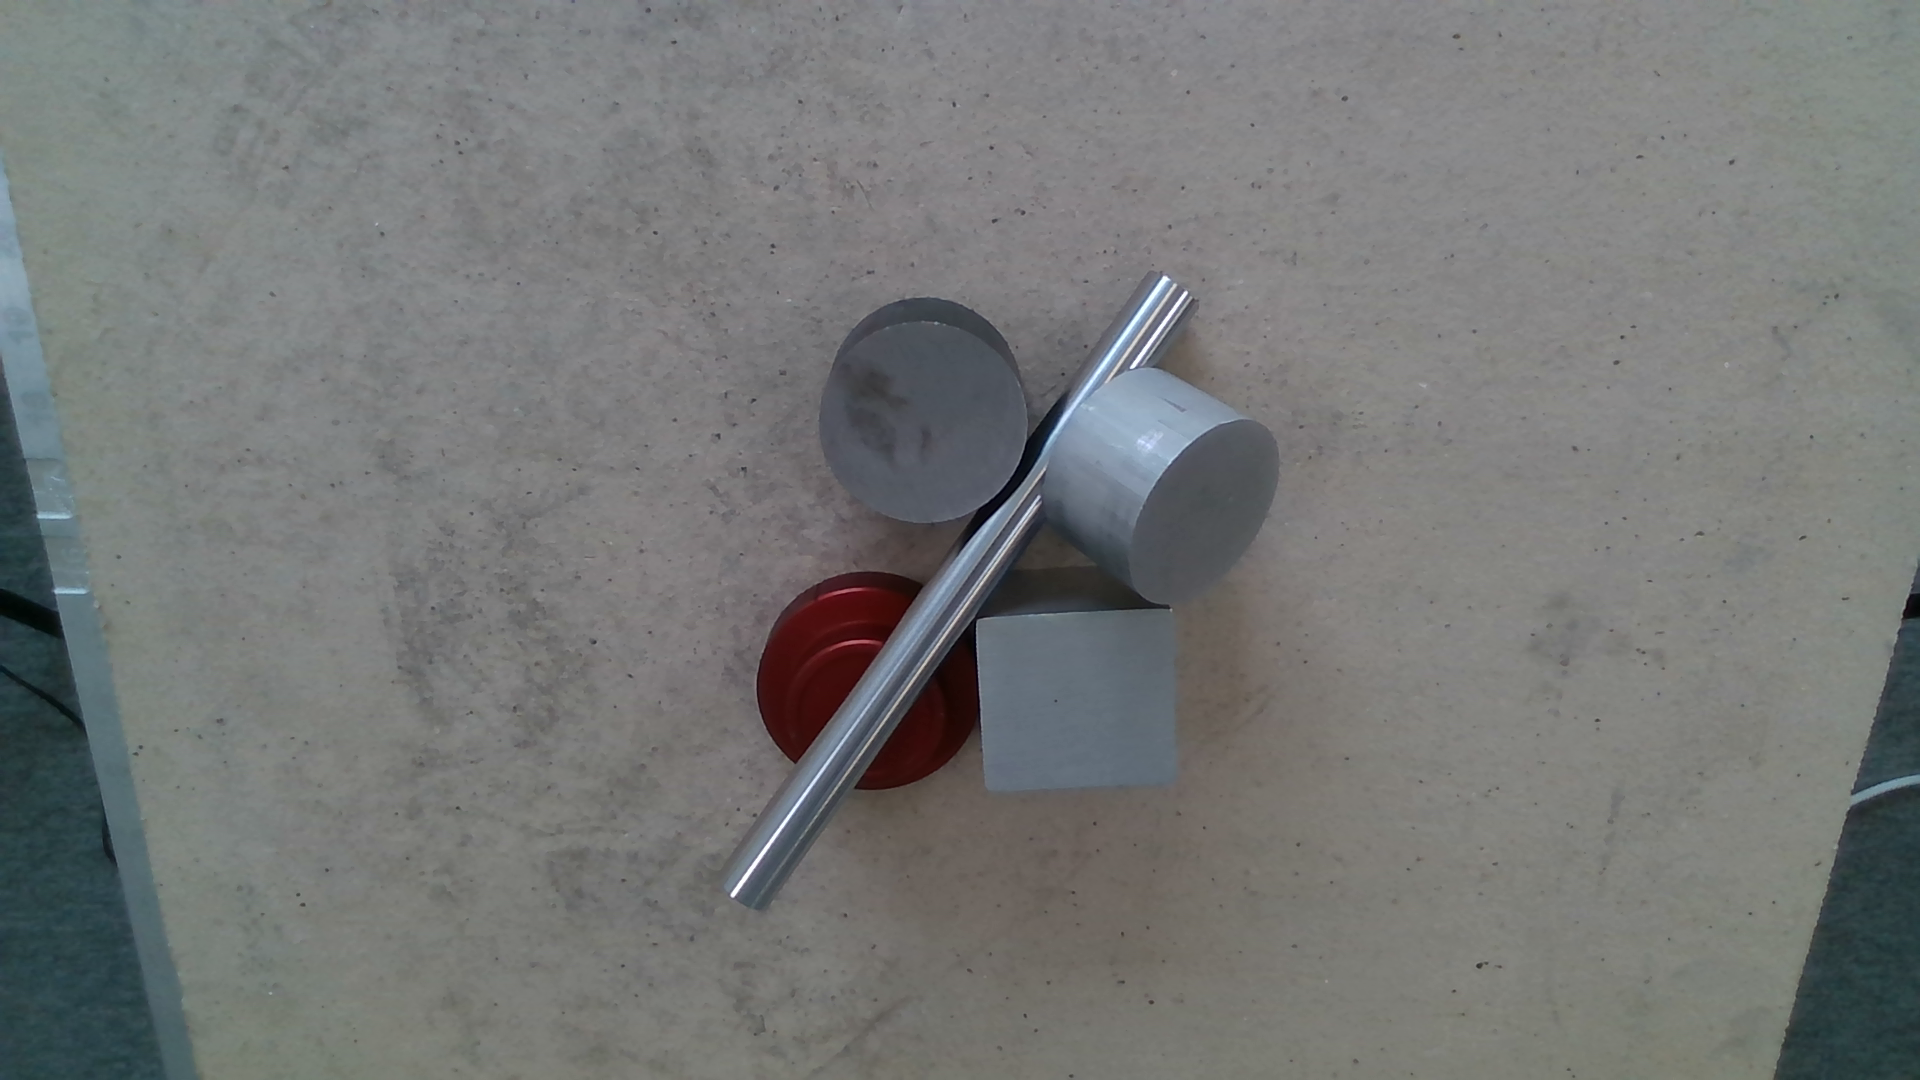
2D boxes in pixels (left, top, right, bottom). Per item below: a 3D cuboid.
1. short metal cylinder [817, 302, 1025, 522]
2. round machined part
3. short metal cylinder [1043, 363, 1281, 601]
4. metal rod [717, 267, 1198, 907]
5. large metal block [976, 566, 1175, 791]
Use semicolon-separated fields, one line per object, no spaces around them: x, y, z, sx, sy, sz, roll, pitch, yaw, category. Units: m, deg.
-0.015;-0.053;0.553;0.080;0.050;0.080;0;110;0;short metal cylinder
-0.041;0.066;0.600;0.098;0.042;0.098;0;110;0;round machined part
0.080;-0.023;0.543;0.080;0.050;0.080;-24;133;-29;short metal cylinder
-0.002;0.021;0.557;0.025;0.025;0.300;35;93;-12;metal rod
0.049;0.058;0.591;0.080;0.050;0.080;-3;110;1;large metal block
